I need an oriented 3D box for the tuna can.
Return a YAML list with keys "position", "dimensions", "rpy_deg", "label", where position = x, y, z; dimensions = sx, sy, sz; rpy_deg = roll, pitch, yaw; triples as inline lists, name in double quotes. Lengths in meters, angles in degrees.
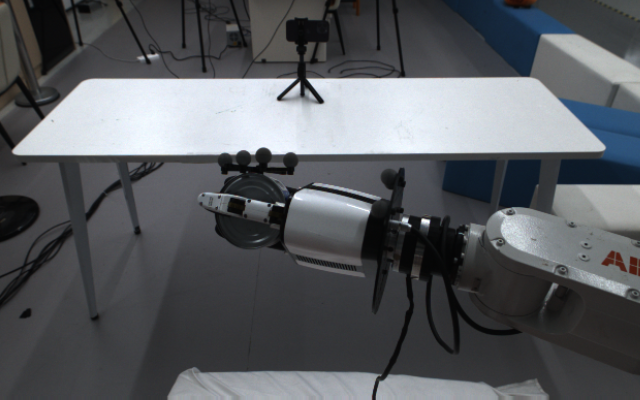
- position: [-0.071, 0.013, 0.552]
  dimensions: [0.085, 0.085, 0.034]
  rpy_deg: [12, -1, 14]
  label: "tuna can"
